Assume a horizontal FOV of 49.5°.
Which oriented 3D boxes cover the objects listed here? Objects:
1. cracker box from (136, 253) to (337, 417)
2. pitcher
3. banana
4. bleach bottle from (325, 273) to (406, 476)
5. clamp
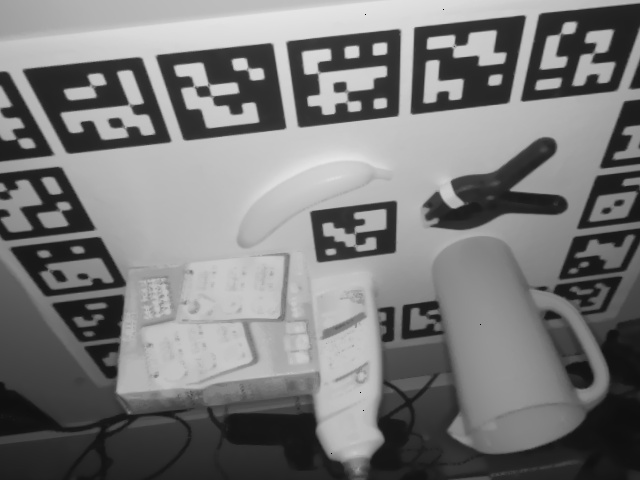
[{"bbox_3d":[-0.096,0.107,0.805,0.214,0.165,0.071,-5,143,-5],"label":"cracker box"},{"bbox_3d":[0.251,0.132,0.821,0.187,0.244,0.133,-16,140,14],"label":"pitcher"},{"bbox_3d":[0.002,-0.046,0.775,0.195,0.039,0.075,-29,136,22],"label":"banana"},{"bbox_3d":[0.064,0.161,0.853,0.103,0.252,0.067,-5,140,-3],"label":"bleach bottle"},{"bbox_3d":[0.223,-0.046,0.801,0.164,0.037,0.122,-15,141,11],"label":"clamp"}]
